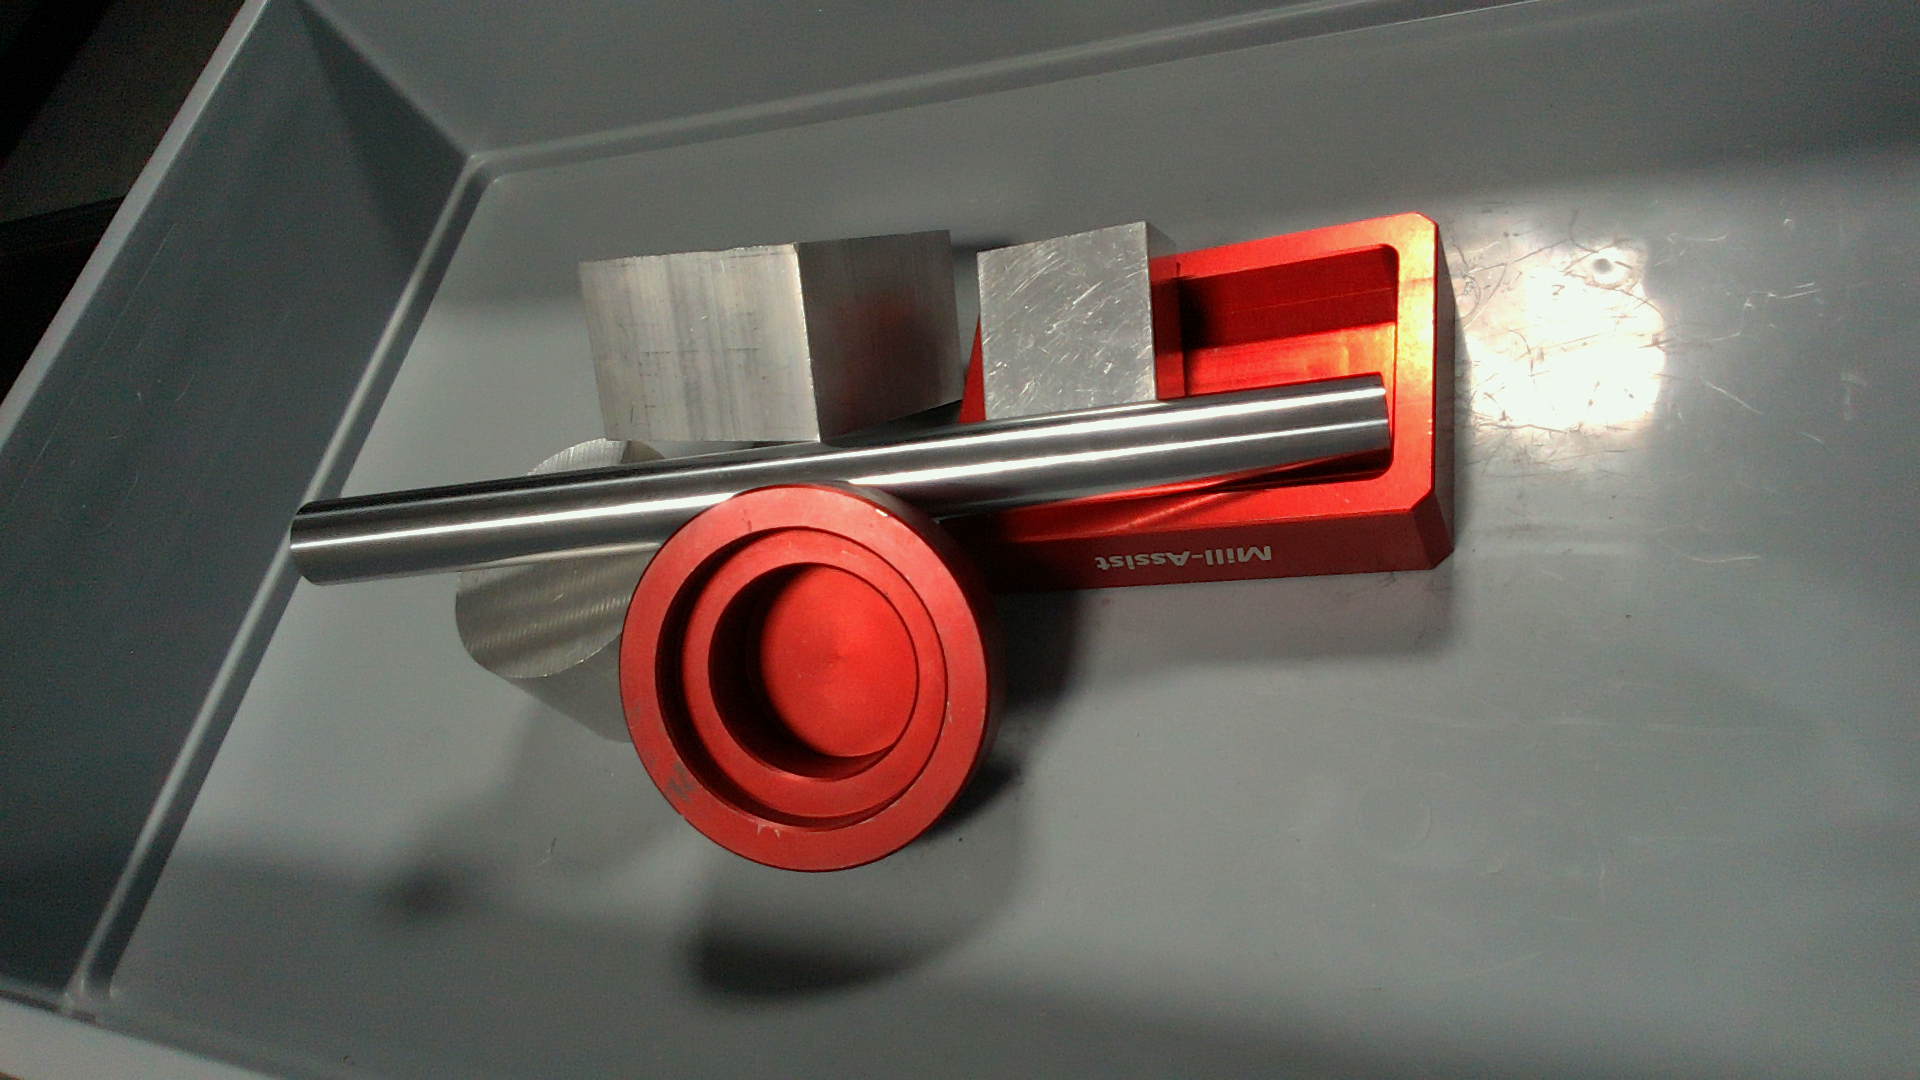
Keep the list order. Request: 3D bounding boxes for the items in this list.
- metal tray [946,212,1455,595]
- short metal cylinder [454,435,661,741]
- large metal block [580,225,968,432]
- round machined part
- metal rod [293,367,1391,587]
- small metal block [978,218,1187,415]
[{"bbox_3d":[0.064,-0.035,0.375,0.130,0.030,0.090,-5,59,26],"label":"metal tray"},{"bbox_3d":[-0.106,0.015,0.423,0.080,0.050,0.080,-14,56,21],"label":"short metal cylinder"},{"bbox_3d":[-0.053,-0.064,0.416,0.080,0.080,0.050,2,105,31],"label":"large metal block"},{"bbox_3d":[-0.036,0.033,0.360,0.098,0.042,0.098,1,95,14],"label":"round machined part"},{"bbox_3d":[-0.041,-0.014,0.370,0.299,0.025,0.025,-6,58,13],"label":"metal rod"},{"bbox_3d":[0.034,-0.057,0.381,0.050,0.025,0.050,-5,85,26],"label":"small metal block"}]
